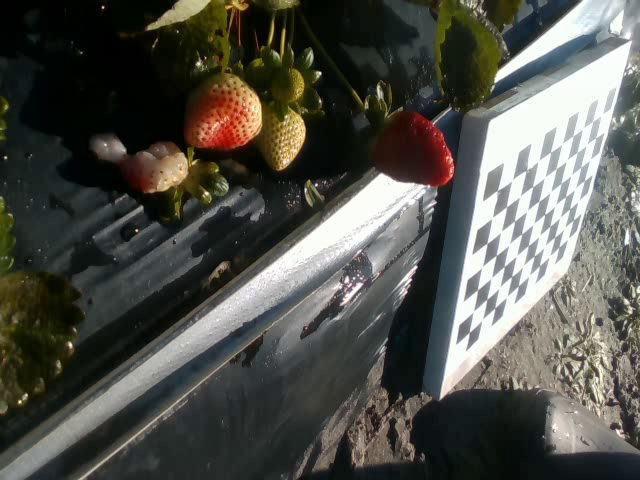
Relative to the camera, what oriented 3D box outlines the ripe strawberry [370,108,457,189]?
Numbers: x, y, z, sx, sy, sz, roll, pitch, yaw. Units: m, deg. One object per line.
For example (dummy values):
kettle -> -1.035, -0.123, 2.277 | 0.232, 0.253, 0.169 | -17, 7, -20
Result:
ripe strawberry -> 0.044, -0.040, 0.296 | 0.036, 0.038, 0.045 | -29, 58, -36
